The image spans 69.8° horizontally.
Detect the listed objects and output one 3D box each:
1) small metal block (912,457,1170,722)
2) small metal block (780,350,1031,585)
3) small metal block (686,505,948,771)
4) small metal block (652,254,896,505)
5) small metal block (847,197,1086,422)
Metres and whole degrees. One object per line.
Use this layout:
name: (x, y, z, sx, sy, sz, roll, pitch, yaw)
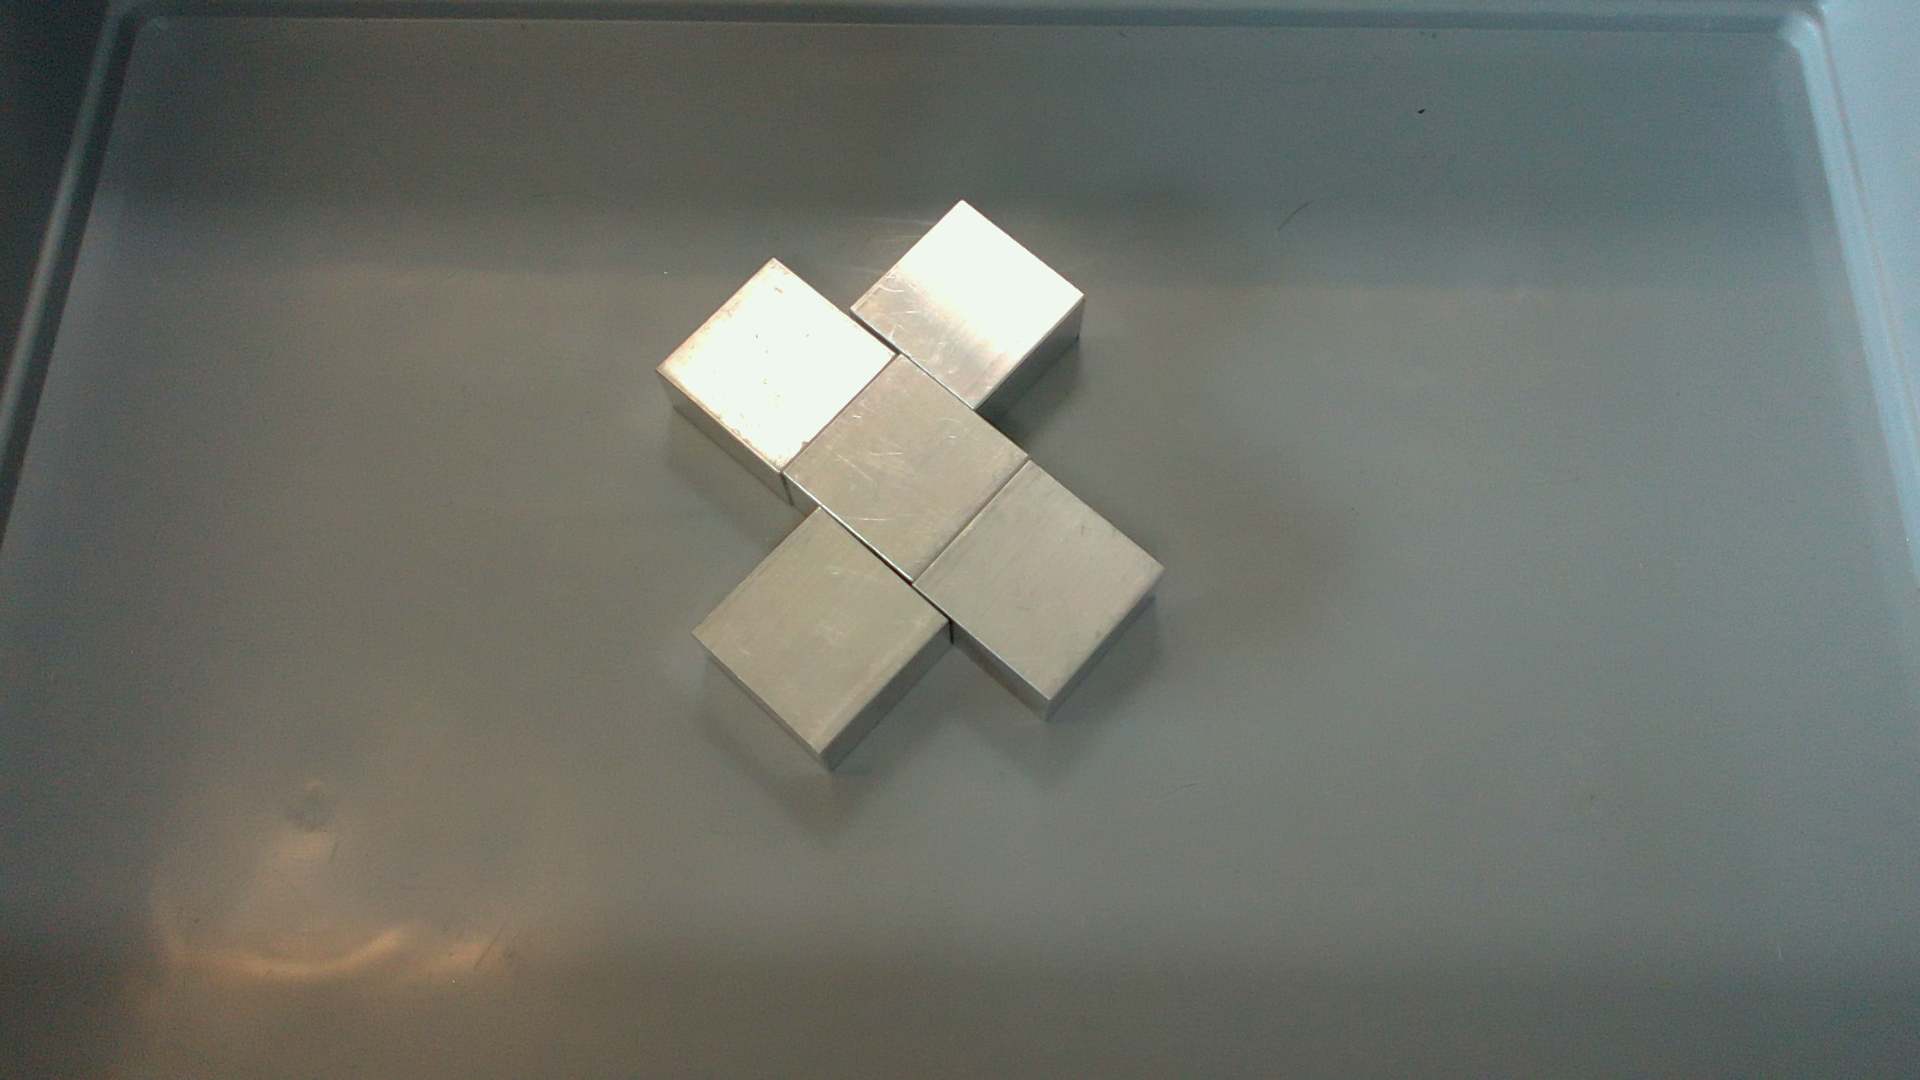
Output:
small metal block: (0.022, 0.014, 0.387, 0.050, 0.025, 0.050, 40, 75, 13)
small metal block: (-0.015, -0.018, 0.398, 0.050, 0.025, 0.050, 40, 75, 13)
small metal block: (-0.038, 0.028, 0.383, 0.050, 0.025, 0.050, 41, 76, 13)
small metal block: (-0.054, -0.048, 0.410, 0.050, 0.025, 0.050, 40, 75, 13)
small metal block: (0.002, -0.067, 0.417, 0.050, 0.025, 0.050, 40, 74, 13)
